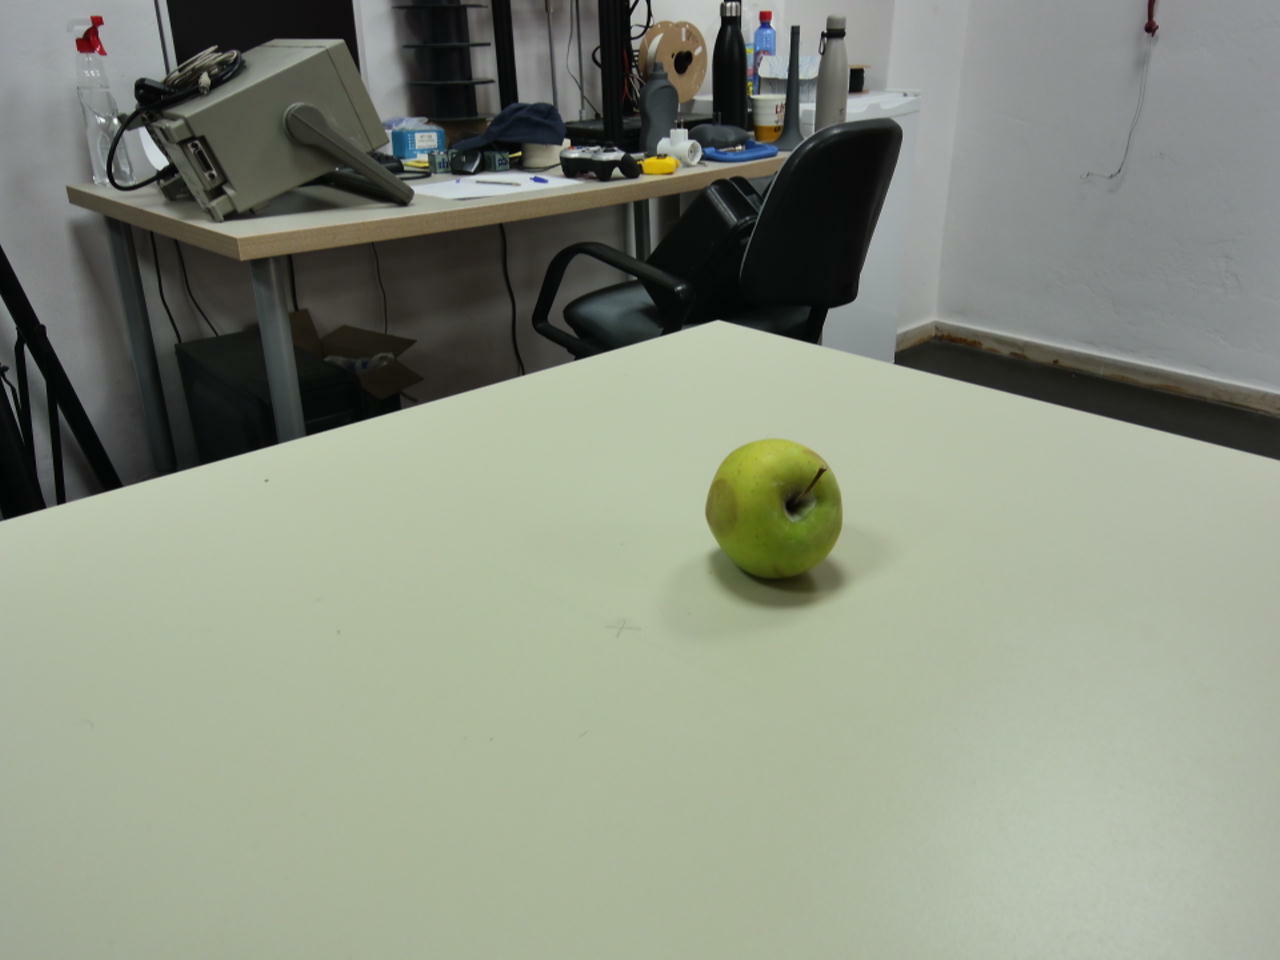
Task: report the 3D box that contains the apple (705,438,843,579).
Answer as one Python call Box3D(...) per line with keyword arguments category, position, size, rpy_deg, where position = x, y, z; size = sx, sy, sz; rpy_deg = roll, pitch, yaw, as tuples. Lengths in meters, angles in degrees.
Box3D(category="apple", position=(0.072, 0.014, 0.541), size=(0.072, 0.075, 0.077), rpy_deg=(1, 23, 2))
